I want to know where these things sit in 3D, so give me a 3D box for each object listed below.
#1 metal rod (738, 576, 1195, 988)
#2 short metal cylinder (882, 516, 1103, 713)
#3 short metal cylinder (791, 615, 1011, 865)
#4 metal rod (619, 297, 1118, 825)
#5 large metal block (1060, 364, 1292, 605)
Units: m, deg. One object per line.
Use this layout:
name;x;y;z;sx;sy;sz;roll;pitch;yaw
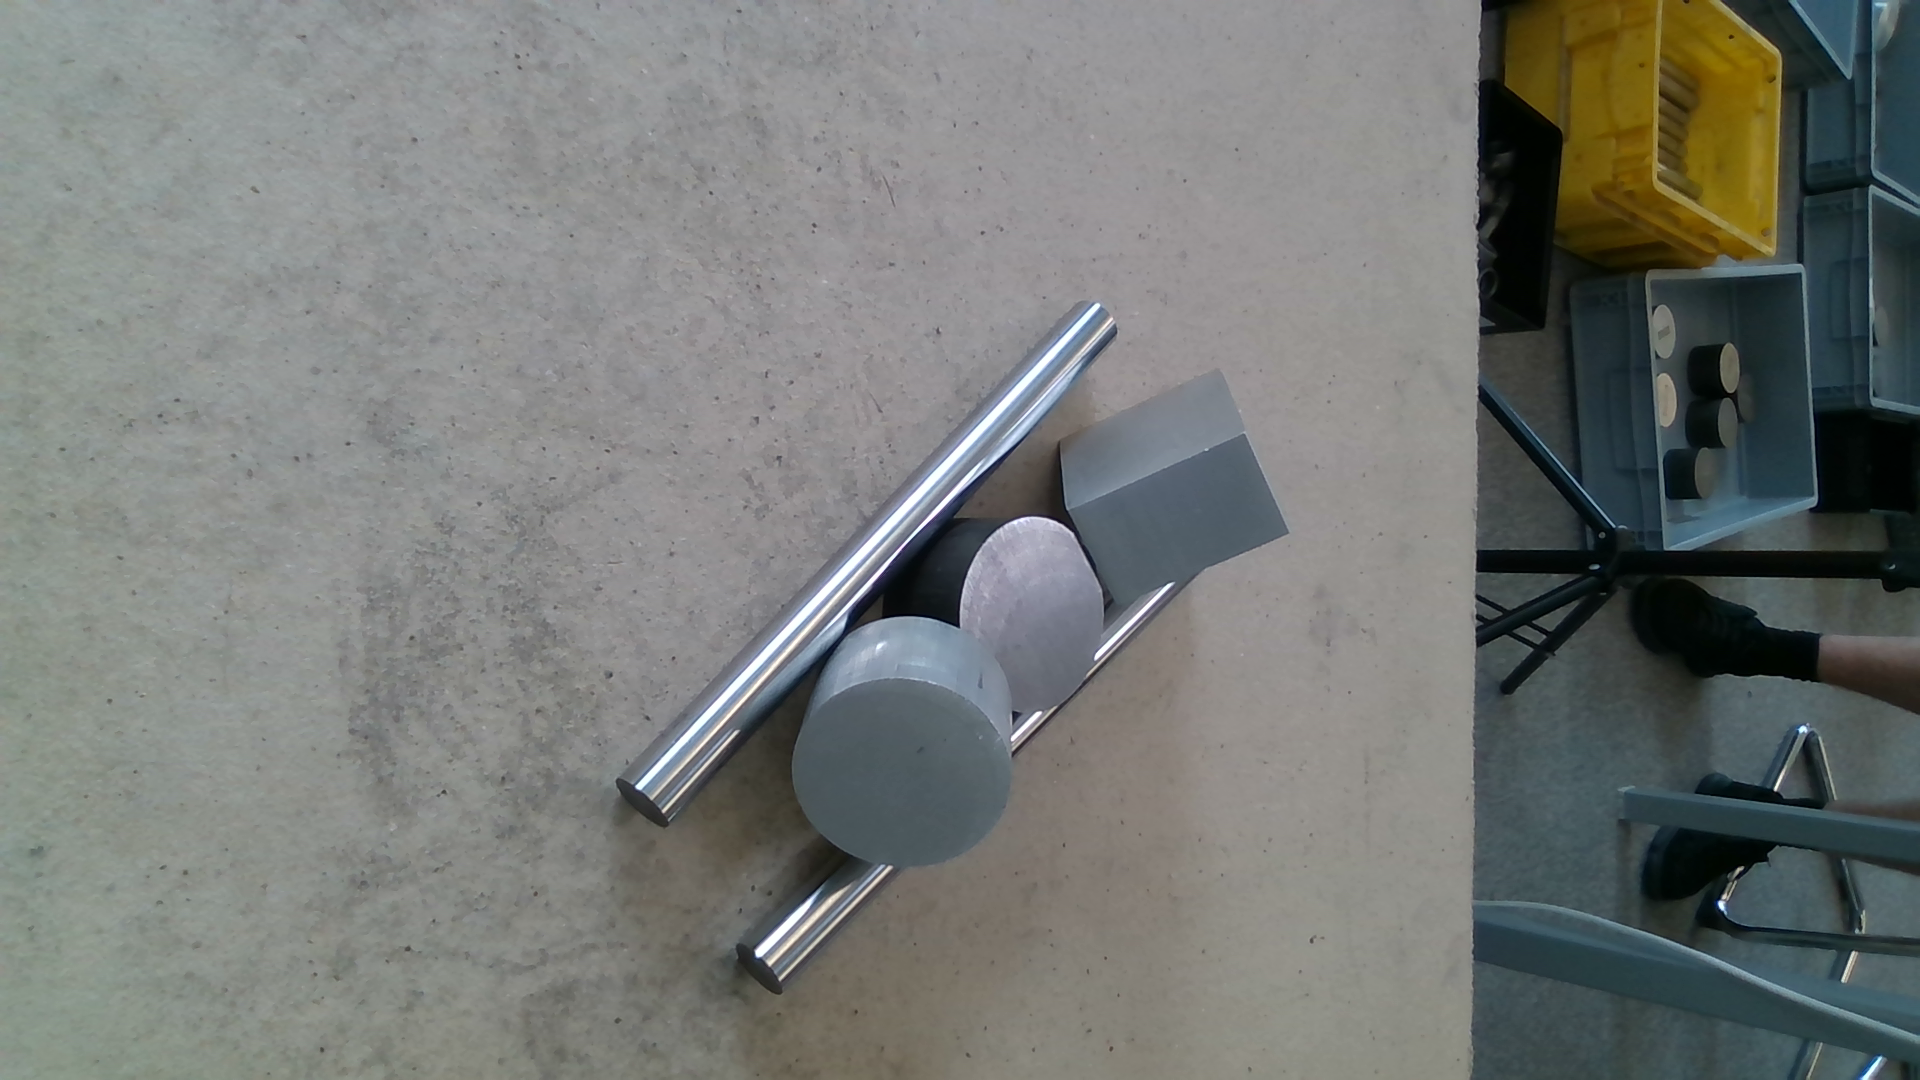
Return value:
metal rod;0.021;0.080;0.601;0.299;0.025;0.025;-40;114;-33
short metal cylinder;0.014;0.030;0.580;0.080;0.050;0.080;0;90;-40
short metal cylinder;-0.020;0.075;0.523;0.050;0.080;0.080;-84;150;-67
metal rod;-0.025;-0.004;0.562;0.299;0.025;0.025;-48;119;-29
large metal block;0.092;-0.026;0.605;0.050;0.080;0.080;61;14;-23
